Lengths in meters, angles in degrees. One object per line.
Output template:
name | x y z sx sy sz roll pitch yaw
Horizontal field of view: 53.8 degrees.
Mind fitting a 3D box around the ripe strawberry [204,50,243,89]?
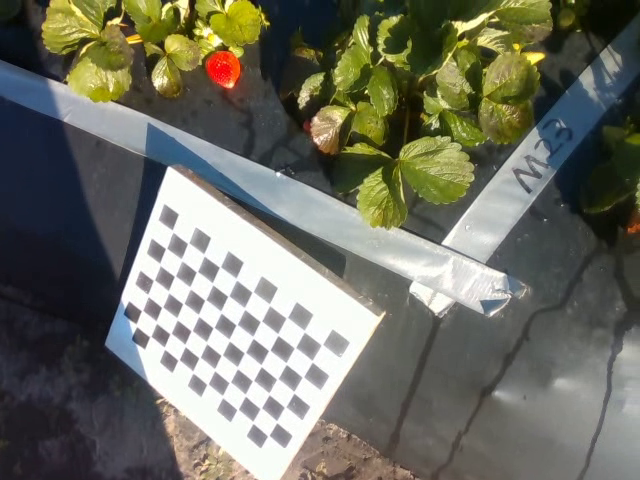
ripe strawberry | -0.114 -0.199 0.741 0.045 0.059 0.042 -33 -22 30
